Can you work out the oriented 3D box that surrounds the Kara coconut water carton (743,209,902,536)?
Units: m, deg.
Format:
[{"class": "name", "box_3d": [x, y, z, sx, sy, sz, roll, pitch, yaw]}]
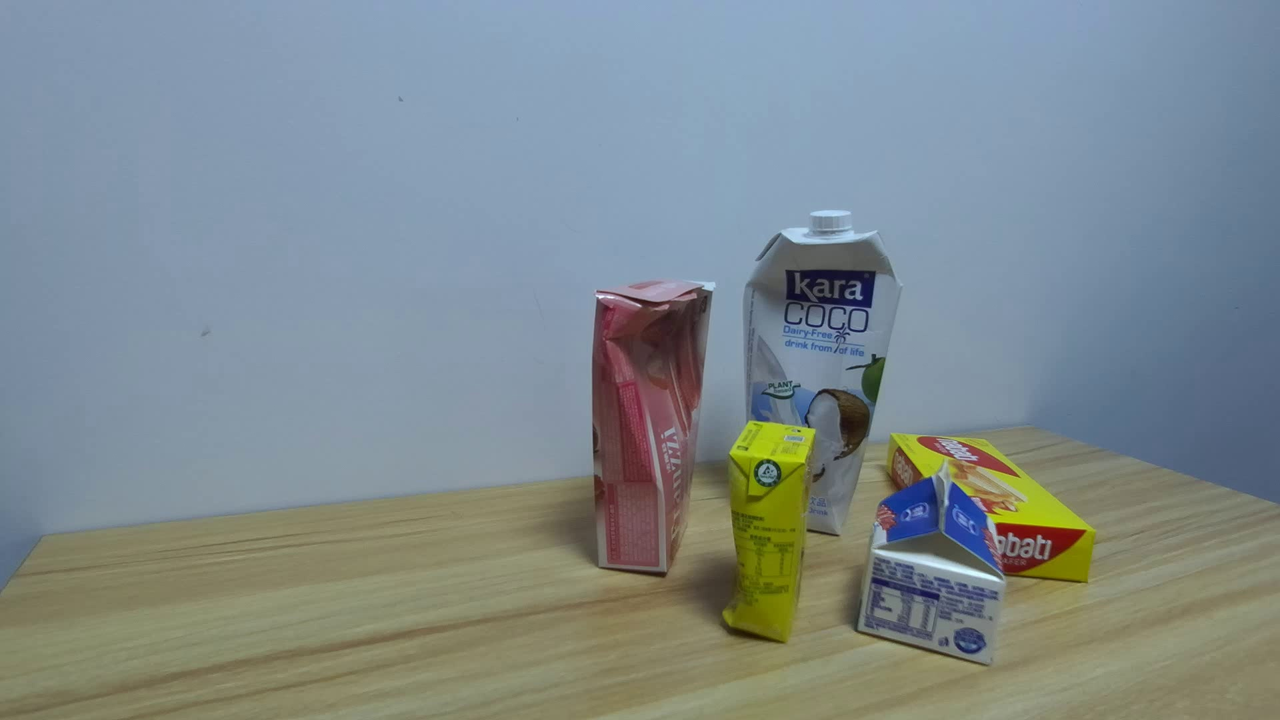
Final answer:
[{"class": "Kara coconut water carton", "box_3d": [0.130, 0.008, 0.536, 0.115, 0.238, 0.069, 6, 14, 15]}]

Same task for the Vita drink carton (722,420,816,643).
[{"class": "Vita drink carton", "box_3d": [0.073, 0.097, 0.407, 0.043, 0.109, 0.076, 6, 13, 18]}]

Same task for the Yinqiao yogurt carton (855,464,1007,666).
[{"class": "Yinqiao yogurt carton", "box_3d": [0.173, 0.111, 0.414, 0.073, 0.092, 0.076, 9, 14, 21]}]

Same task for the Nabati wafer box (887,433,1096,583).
[{"class": "Nabati wafer box", "box_3d": [0.272, 0.110, 0.576, 0.092, 0.042, 0.203, 5, 12, 5]}]

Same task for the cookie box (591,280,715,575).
[{"class": "cookie box", "box_3d": [0.009, 0.042, 0.476, 0.055, 0.184, 0.119, 7, 13, 18]}]
